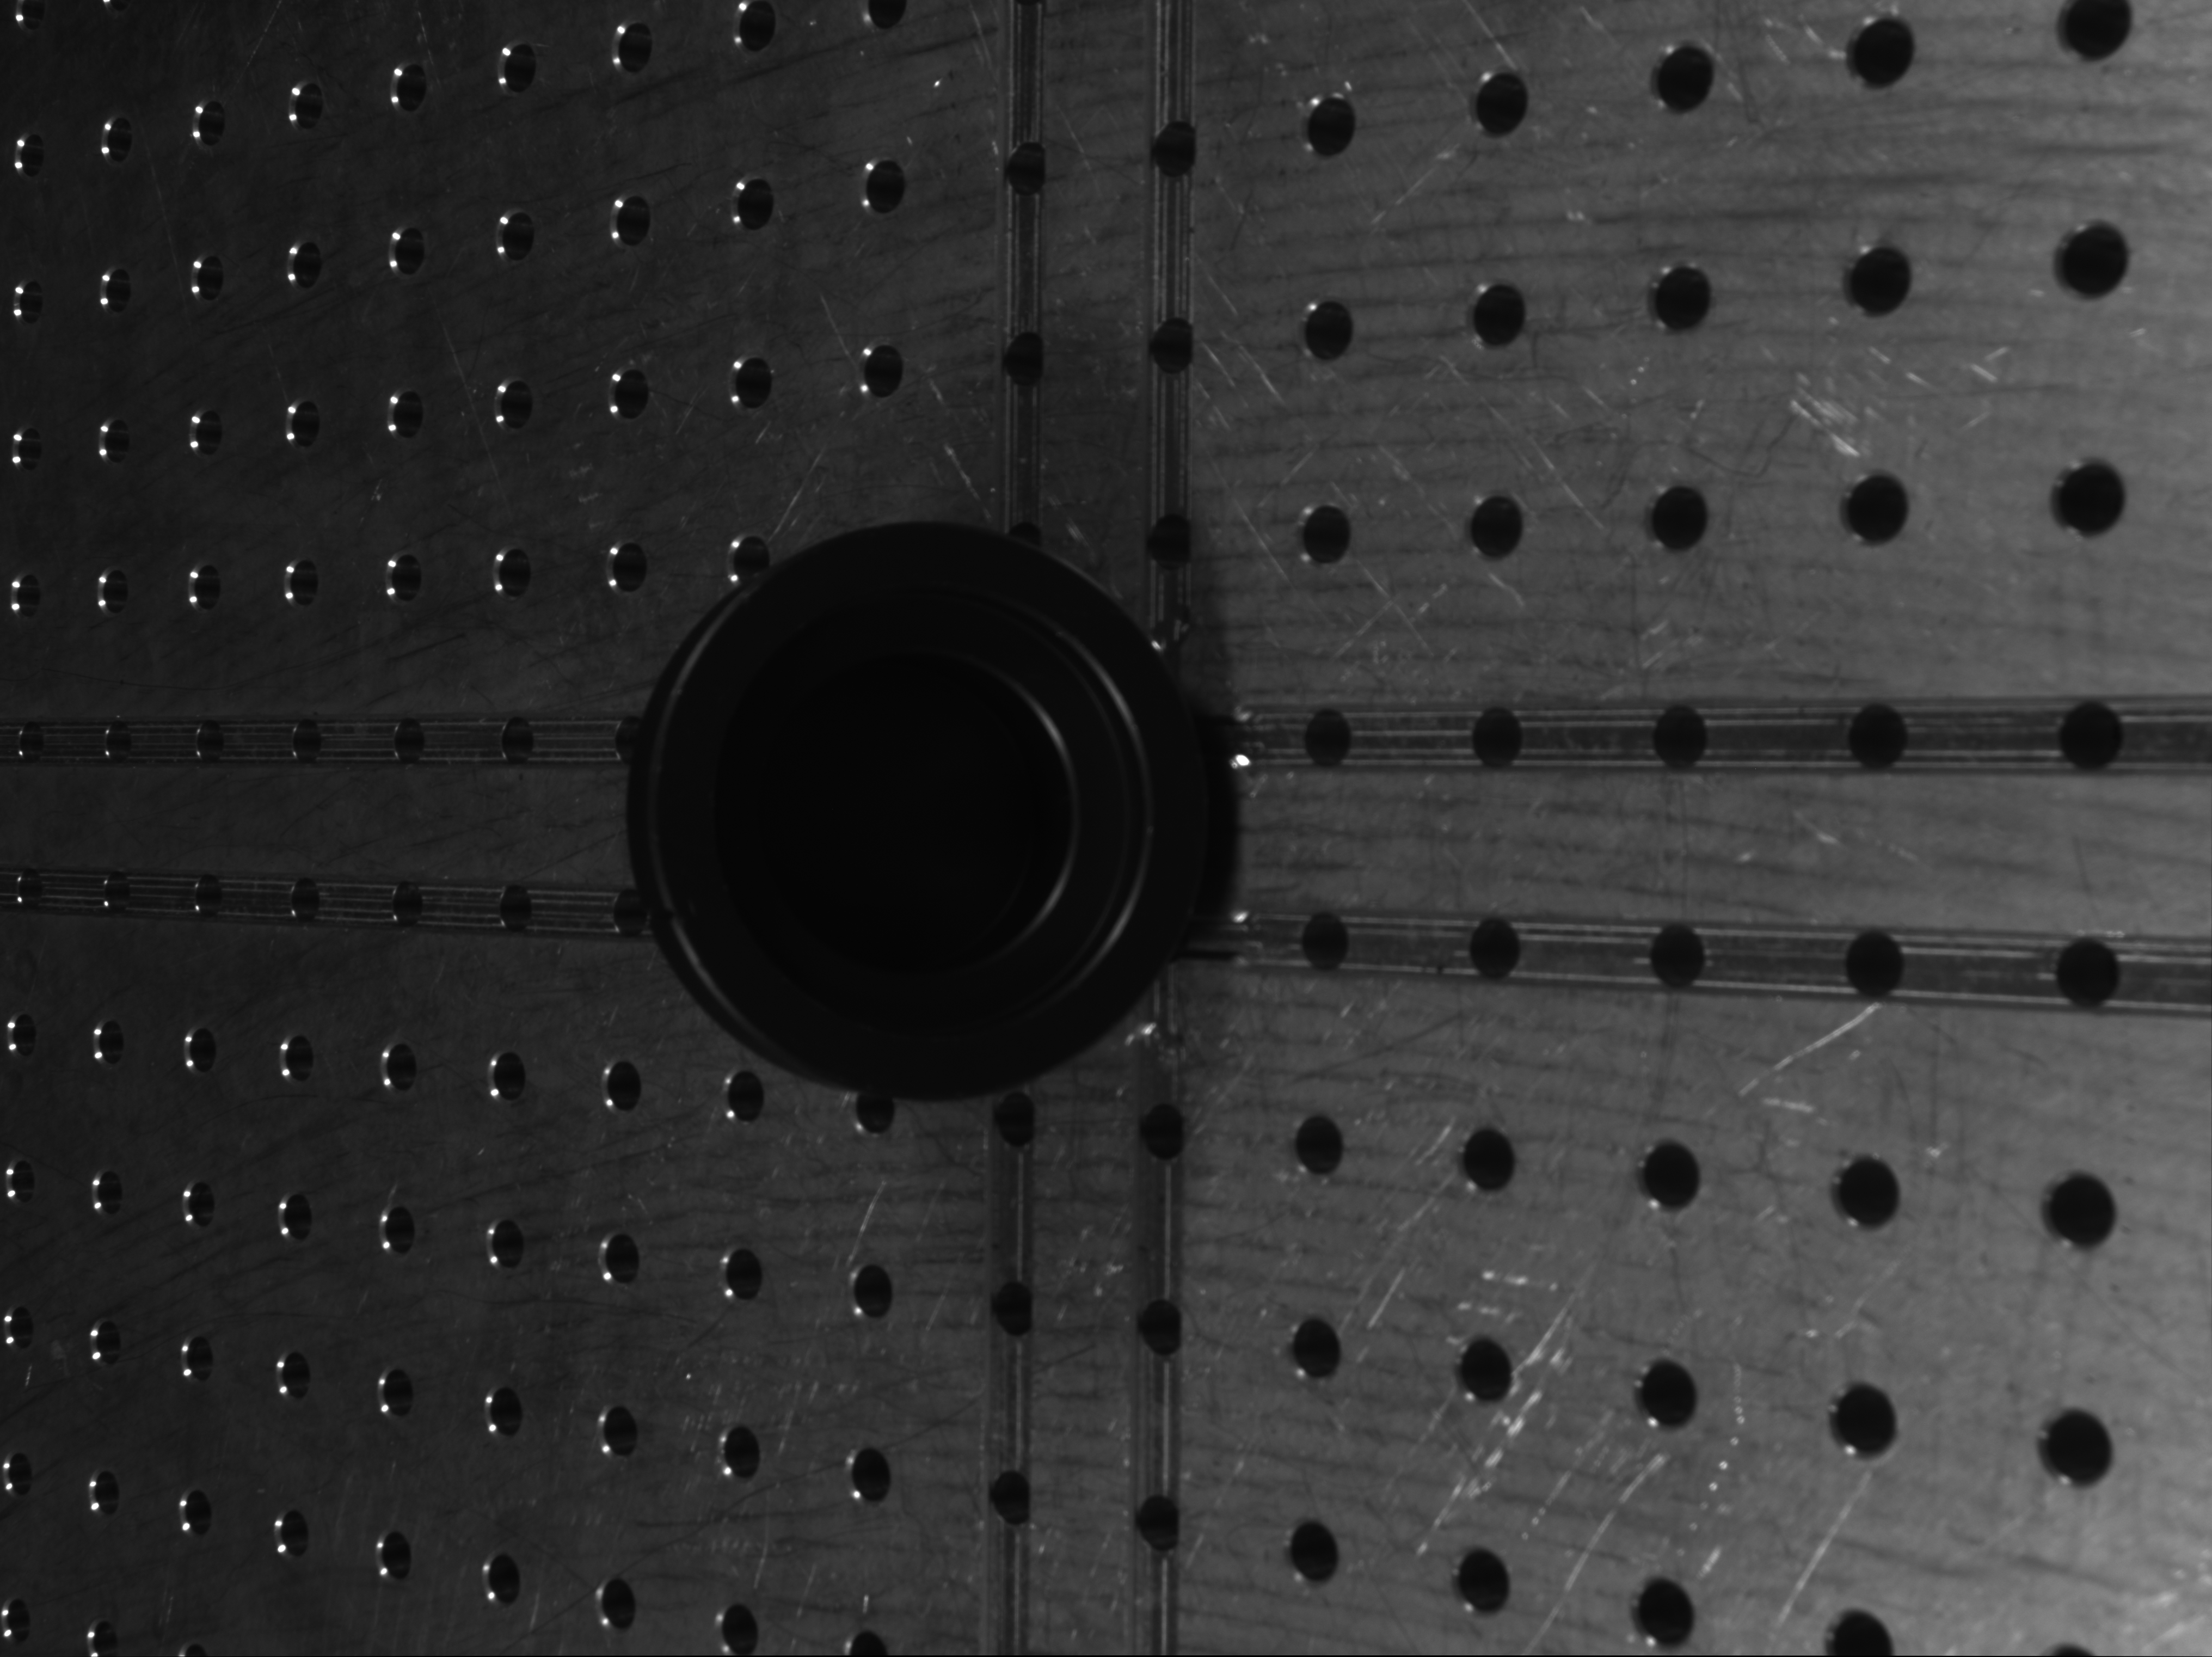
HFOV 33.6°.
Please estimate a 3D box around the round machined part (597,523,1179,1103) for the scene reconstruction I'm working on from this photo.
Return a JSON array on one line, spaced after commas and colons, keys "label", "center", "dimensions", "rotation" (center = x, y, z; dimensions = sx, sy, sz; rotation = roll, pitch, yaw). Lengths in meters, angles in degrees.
[{"label": "round machined part", "center": [-0.040, -0.002, 0.636], "dimensions": [0.042, 0.098, 0.098], "rotation": [173, 95, -71]}]
